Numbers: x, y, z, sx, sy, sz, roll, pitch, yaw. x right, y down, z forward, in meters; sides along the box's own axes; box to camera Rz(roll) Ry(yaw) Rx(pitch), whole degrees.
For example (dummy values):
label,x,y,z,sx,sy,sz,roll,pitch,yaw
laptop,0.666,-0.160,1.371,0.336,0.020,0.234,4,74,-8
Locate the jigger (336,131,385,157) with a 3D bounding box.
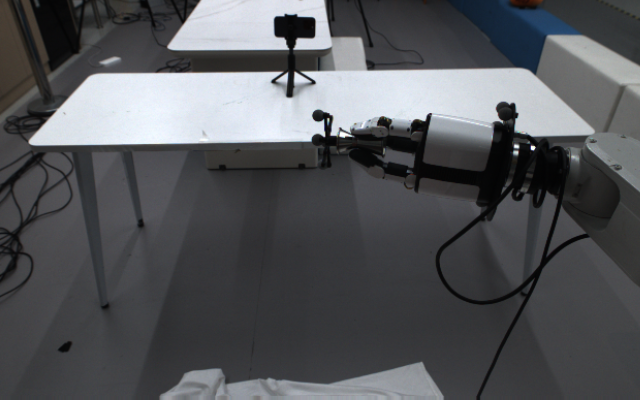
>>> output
label,x,y,z,sx,sy,sz,roll,pitch,yaw
jigger,0.067,-0.089,0.707,0.071,0.043,0.043,3,34,12
